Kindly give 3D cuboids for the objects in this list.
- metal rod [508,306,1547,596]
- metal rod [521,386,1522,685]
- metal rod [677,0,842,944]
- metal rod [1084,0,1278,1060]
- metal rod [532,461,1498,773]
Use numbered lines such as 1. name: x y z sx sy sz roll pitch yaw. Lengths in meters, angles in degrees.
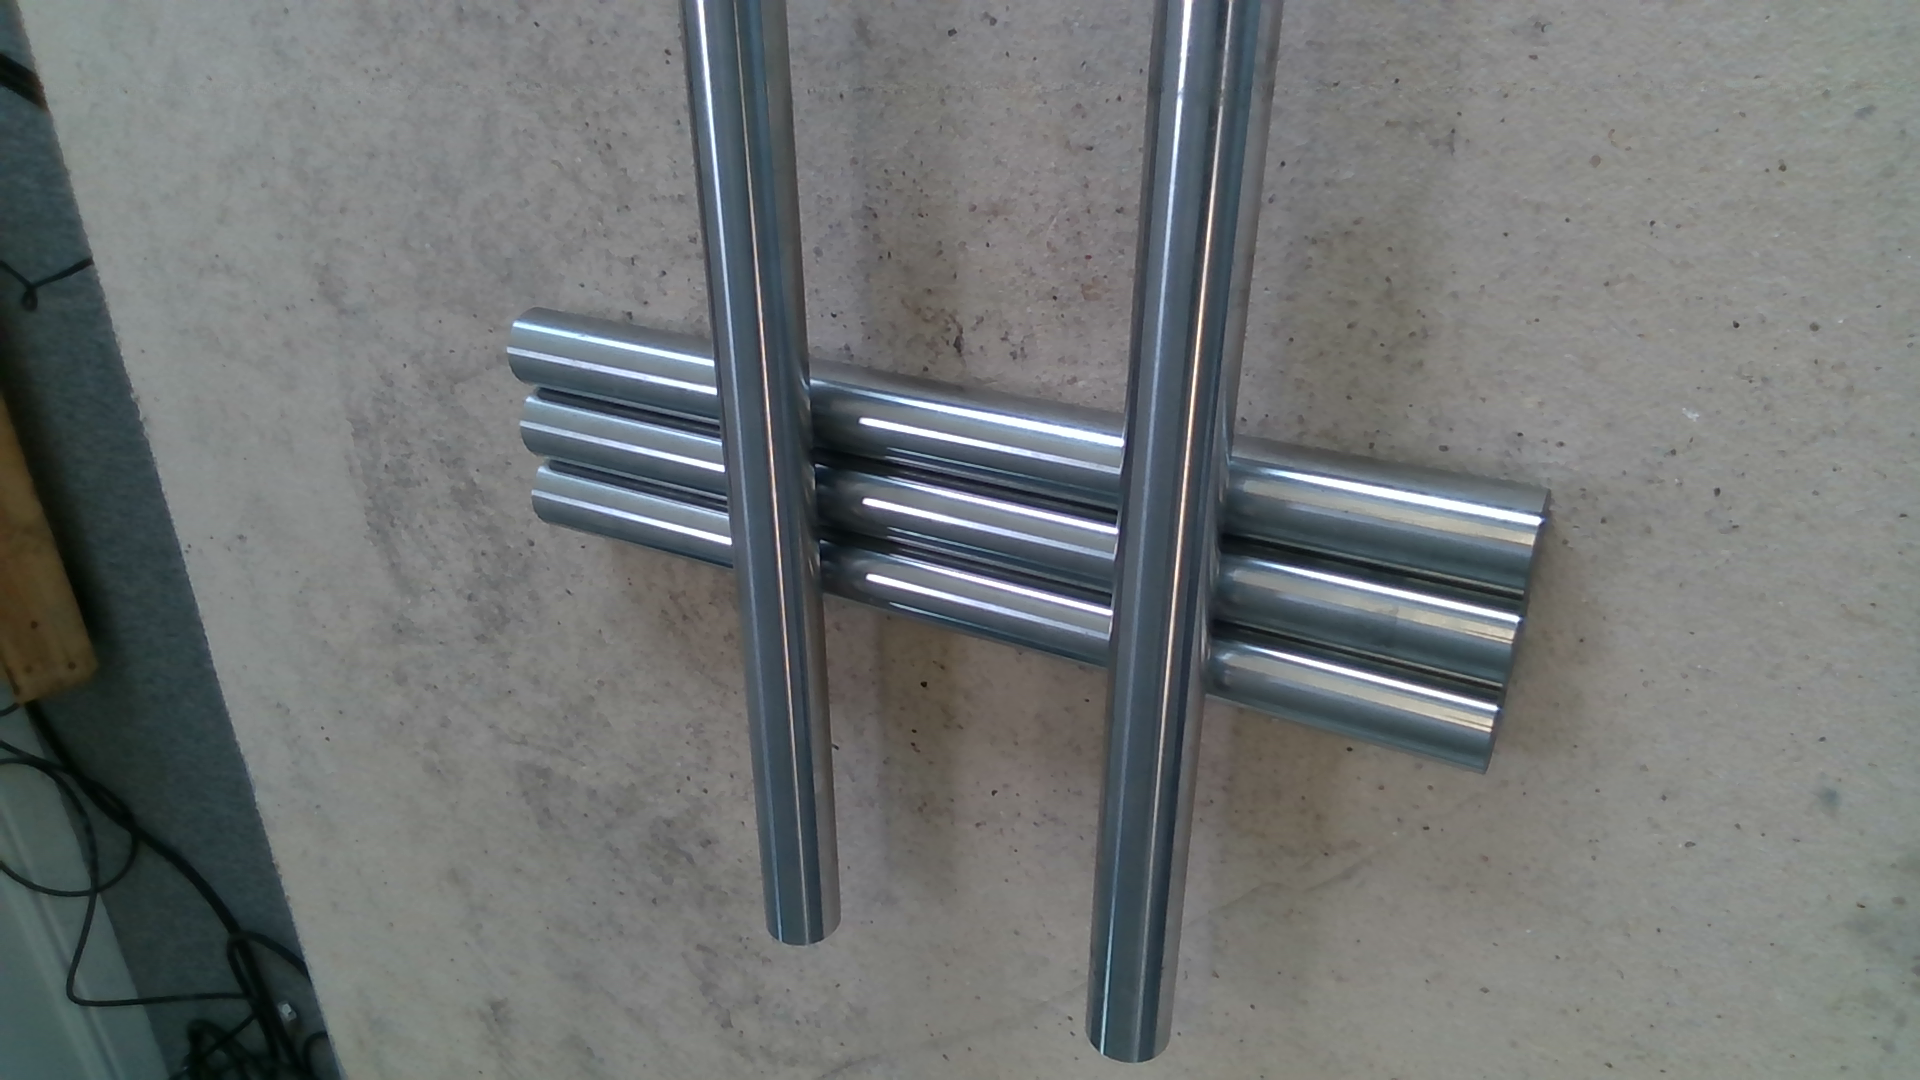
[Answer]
1. metal rod: -0.003 -0.031 0.374 0.300 0.025 0.025 13 121 25
2. metal rod: -0.003 -0.009 0.386 0.300 0.025 0.025 13 121 25
3. metal rod: -0.053 -0.007 0.385 0.025 0.025 0.301 14 122 25
4. metal rod: 0.049 0.011 0.333 0.025 0.025 0.301 15 122 25
5. metal rod: -0.003 0.013 0.398 0.300 0.025 0.025 13 121 25
